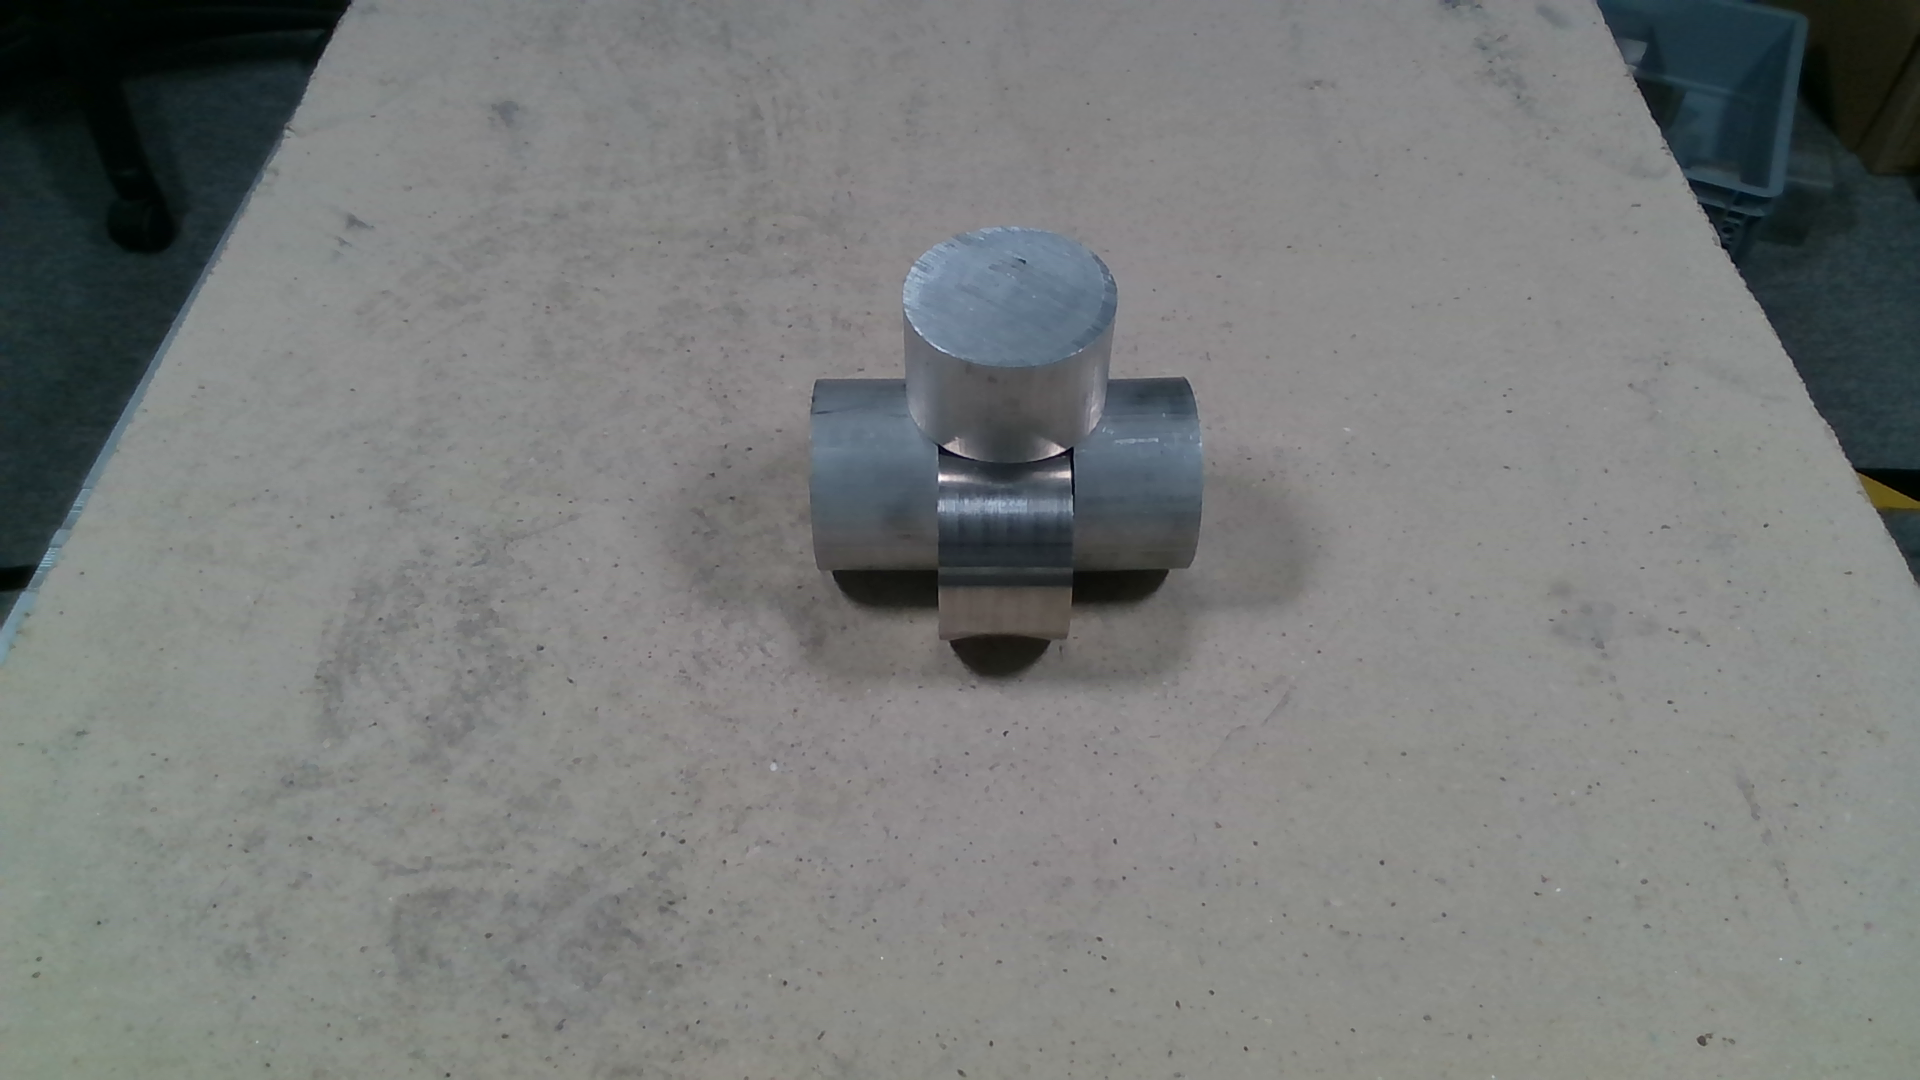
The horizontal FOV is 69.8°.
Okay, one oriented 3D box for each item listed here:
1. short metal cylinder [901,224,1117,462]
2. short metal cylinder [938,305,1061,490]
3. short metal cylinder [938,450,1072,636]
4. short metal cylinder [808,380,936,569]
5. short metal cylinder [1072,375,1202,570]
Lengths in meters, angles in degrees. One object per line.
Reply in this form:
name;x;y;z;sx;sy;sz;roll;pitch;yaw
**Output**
short metal cylinder;0.018;-0.076;0.530;0.080;0.050;0.080;0;50;0
short metal cylinder;0.016;-0.062;0.603;0.050;0.080;0.080;-1;50;-1
short metal cylinder;0.017;-0.001;0.552;0.050;0.080;0.080;0;50;0
short metal cylinder;-0.034;-0.028;0.574;0.050;0.080;0.080;0;50;0
short metal cylinder;0.068;-0.028;0.574;0.050;0.080;0.080;-1;50;-1
